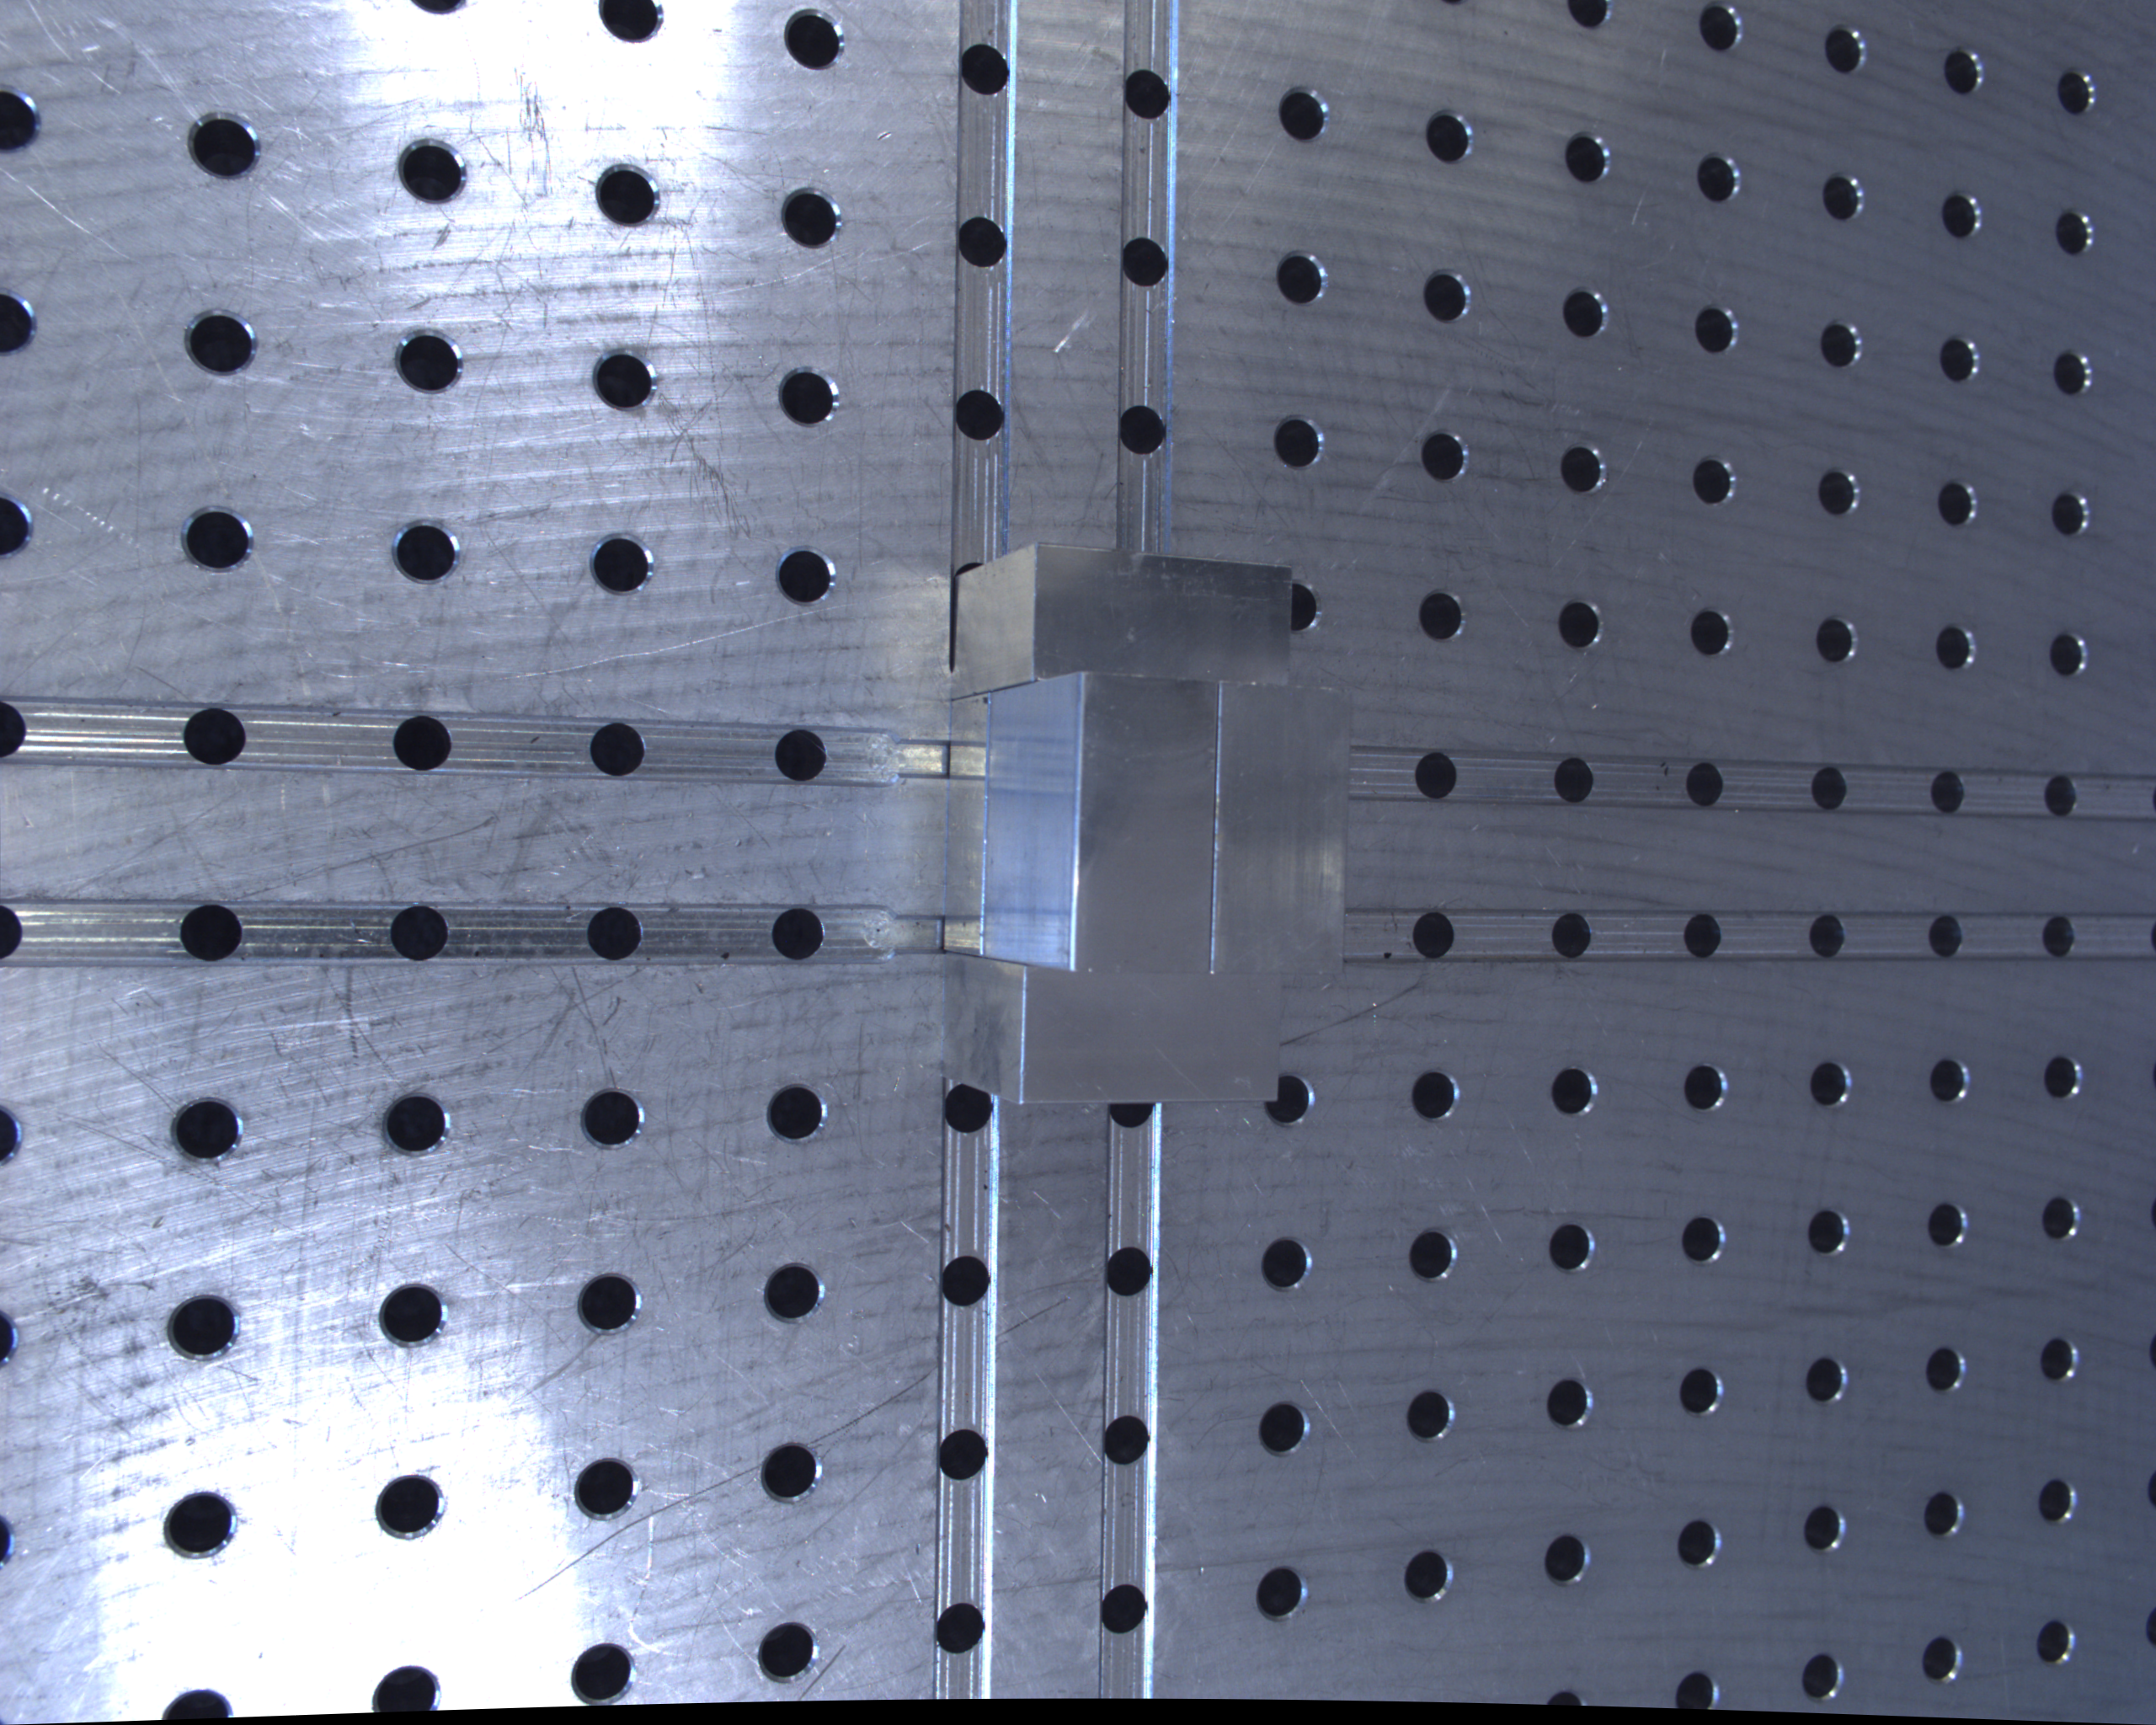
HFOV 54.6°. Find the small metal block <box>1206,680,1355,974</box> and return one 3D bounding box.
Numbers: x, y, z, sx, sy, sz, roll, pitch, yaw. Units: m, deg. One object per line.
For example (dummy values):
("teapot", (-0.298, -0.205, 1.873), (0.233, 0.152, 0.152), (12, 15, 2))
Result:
("small metal block", (0.027, -0.006, 0.382), (0.025, 0.050, 0.050), (2, 89, -19))

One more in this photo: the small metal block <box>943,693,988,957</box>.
("small metal block", (0.002, -0.007, 0.412), (0.050, 0.025, 0.050), (2, 90, -19))

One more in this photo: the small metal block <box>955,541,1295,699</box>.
("small metal block", (0.008, -0.044, 0.401), (0.050, 0.050, 0.025), (2, 90, -20))

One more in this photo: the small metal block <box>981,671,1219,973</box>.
("small metal block", (0.003, -0.007, 0.373), (0.025, 0.050, 0.050), (2, 90, -20))

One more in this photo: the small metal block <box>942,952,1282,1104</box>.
("small metal block", (0.005, 0.031, 0.401), (0.050, 0.050, 0.025), (2, 90, -20))
